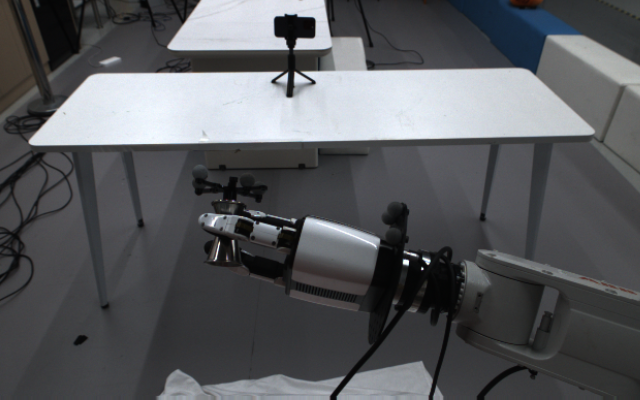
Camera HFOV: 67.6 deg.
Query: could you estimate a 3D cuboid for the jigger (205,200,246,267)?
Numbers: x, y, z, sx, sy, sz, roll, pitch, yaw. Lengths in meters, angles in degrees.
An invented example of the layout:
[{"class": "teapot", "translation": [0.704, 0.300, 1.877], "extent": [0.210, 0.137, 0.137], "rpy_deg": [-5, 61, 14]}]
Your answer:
[{"class": "jigger", "translation": [-0.104, 0.037, 0.536], "extent": [0.043, 0.043, 0.071], "rpy_deg": [3, 76, 1]}]
